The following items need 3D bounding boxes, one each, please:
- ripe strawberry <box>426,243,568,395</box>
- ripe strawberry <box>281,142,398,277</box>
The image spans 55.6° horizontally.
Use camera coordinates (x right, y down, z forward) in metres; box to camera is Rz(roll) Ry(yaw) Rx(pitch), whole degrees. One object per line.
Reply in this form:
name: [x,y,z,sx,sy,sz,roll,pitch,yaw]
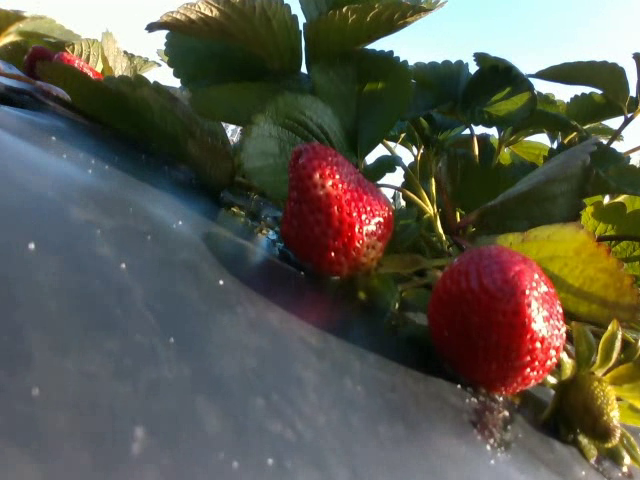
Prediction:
ripe strawberry: [0.050,0.017,0.159,0.038,0.043,0.053,-39,-11,-6]
ripe strawberry: [0.005,-0.010,0.206,0.039,0.054,0.048,-22,26,25]
